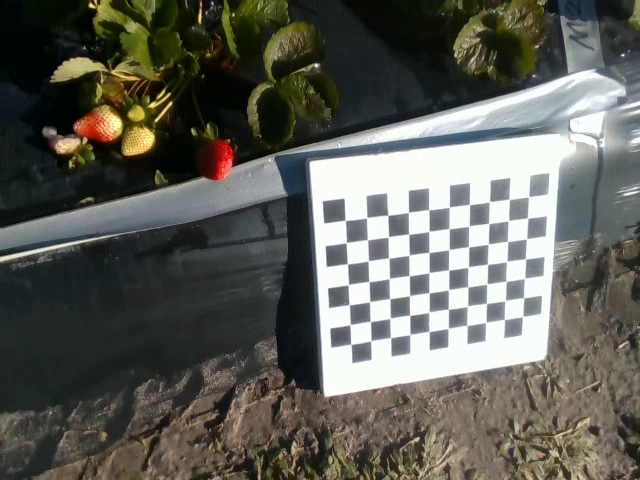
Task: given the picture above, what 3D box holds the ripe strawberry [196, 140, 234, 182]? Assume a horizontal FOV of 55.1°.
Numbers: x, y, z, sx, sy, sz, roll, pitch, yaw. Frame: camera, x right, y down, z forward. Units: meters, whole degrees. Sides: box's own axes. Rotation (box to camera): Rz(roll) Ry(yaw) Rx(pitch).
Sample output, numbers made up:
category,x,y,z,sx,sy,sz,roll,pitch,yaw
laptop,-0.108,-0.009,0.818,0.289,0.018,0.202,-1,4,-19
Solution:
category,x,y,z,sx,sy,sz,roll,pitch,yaw
ripe strawberry,-0.084,-0.060,0.488,0.036,0.038,0.046,-8,33,-9
